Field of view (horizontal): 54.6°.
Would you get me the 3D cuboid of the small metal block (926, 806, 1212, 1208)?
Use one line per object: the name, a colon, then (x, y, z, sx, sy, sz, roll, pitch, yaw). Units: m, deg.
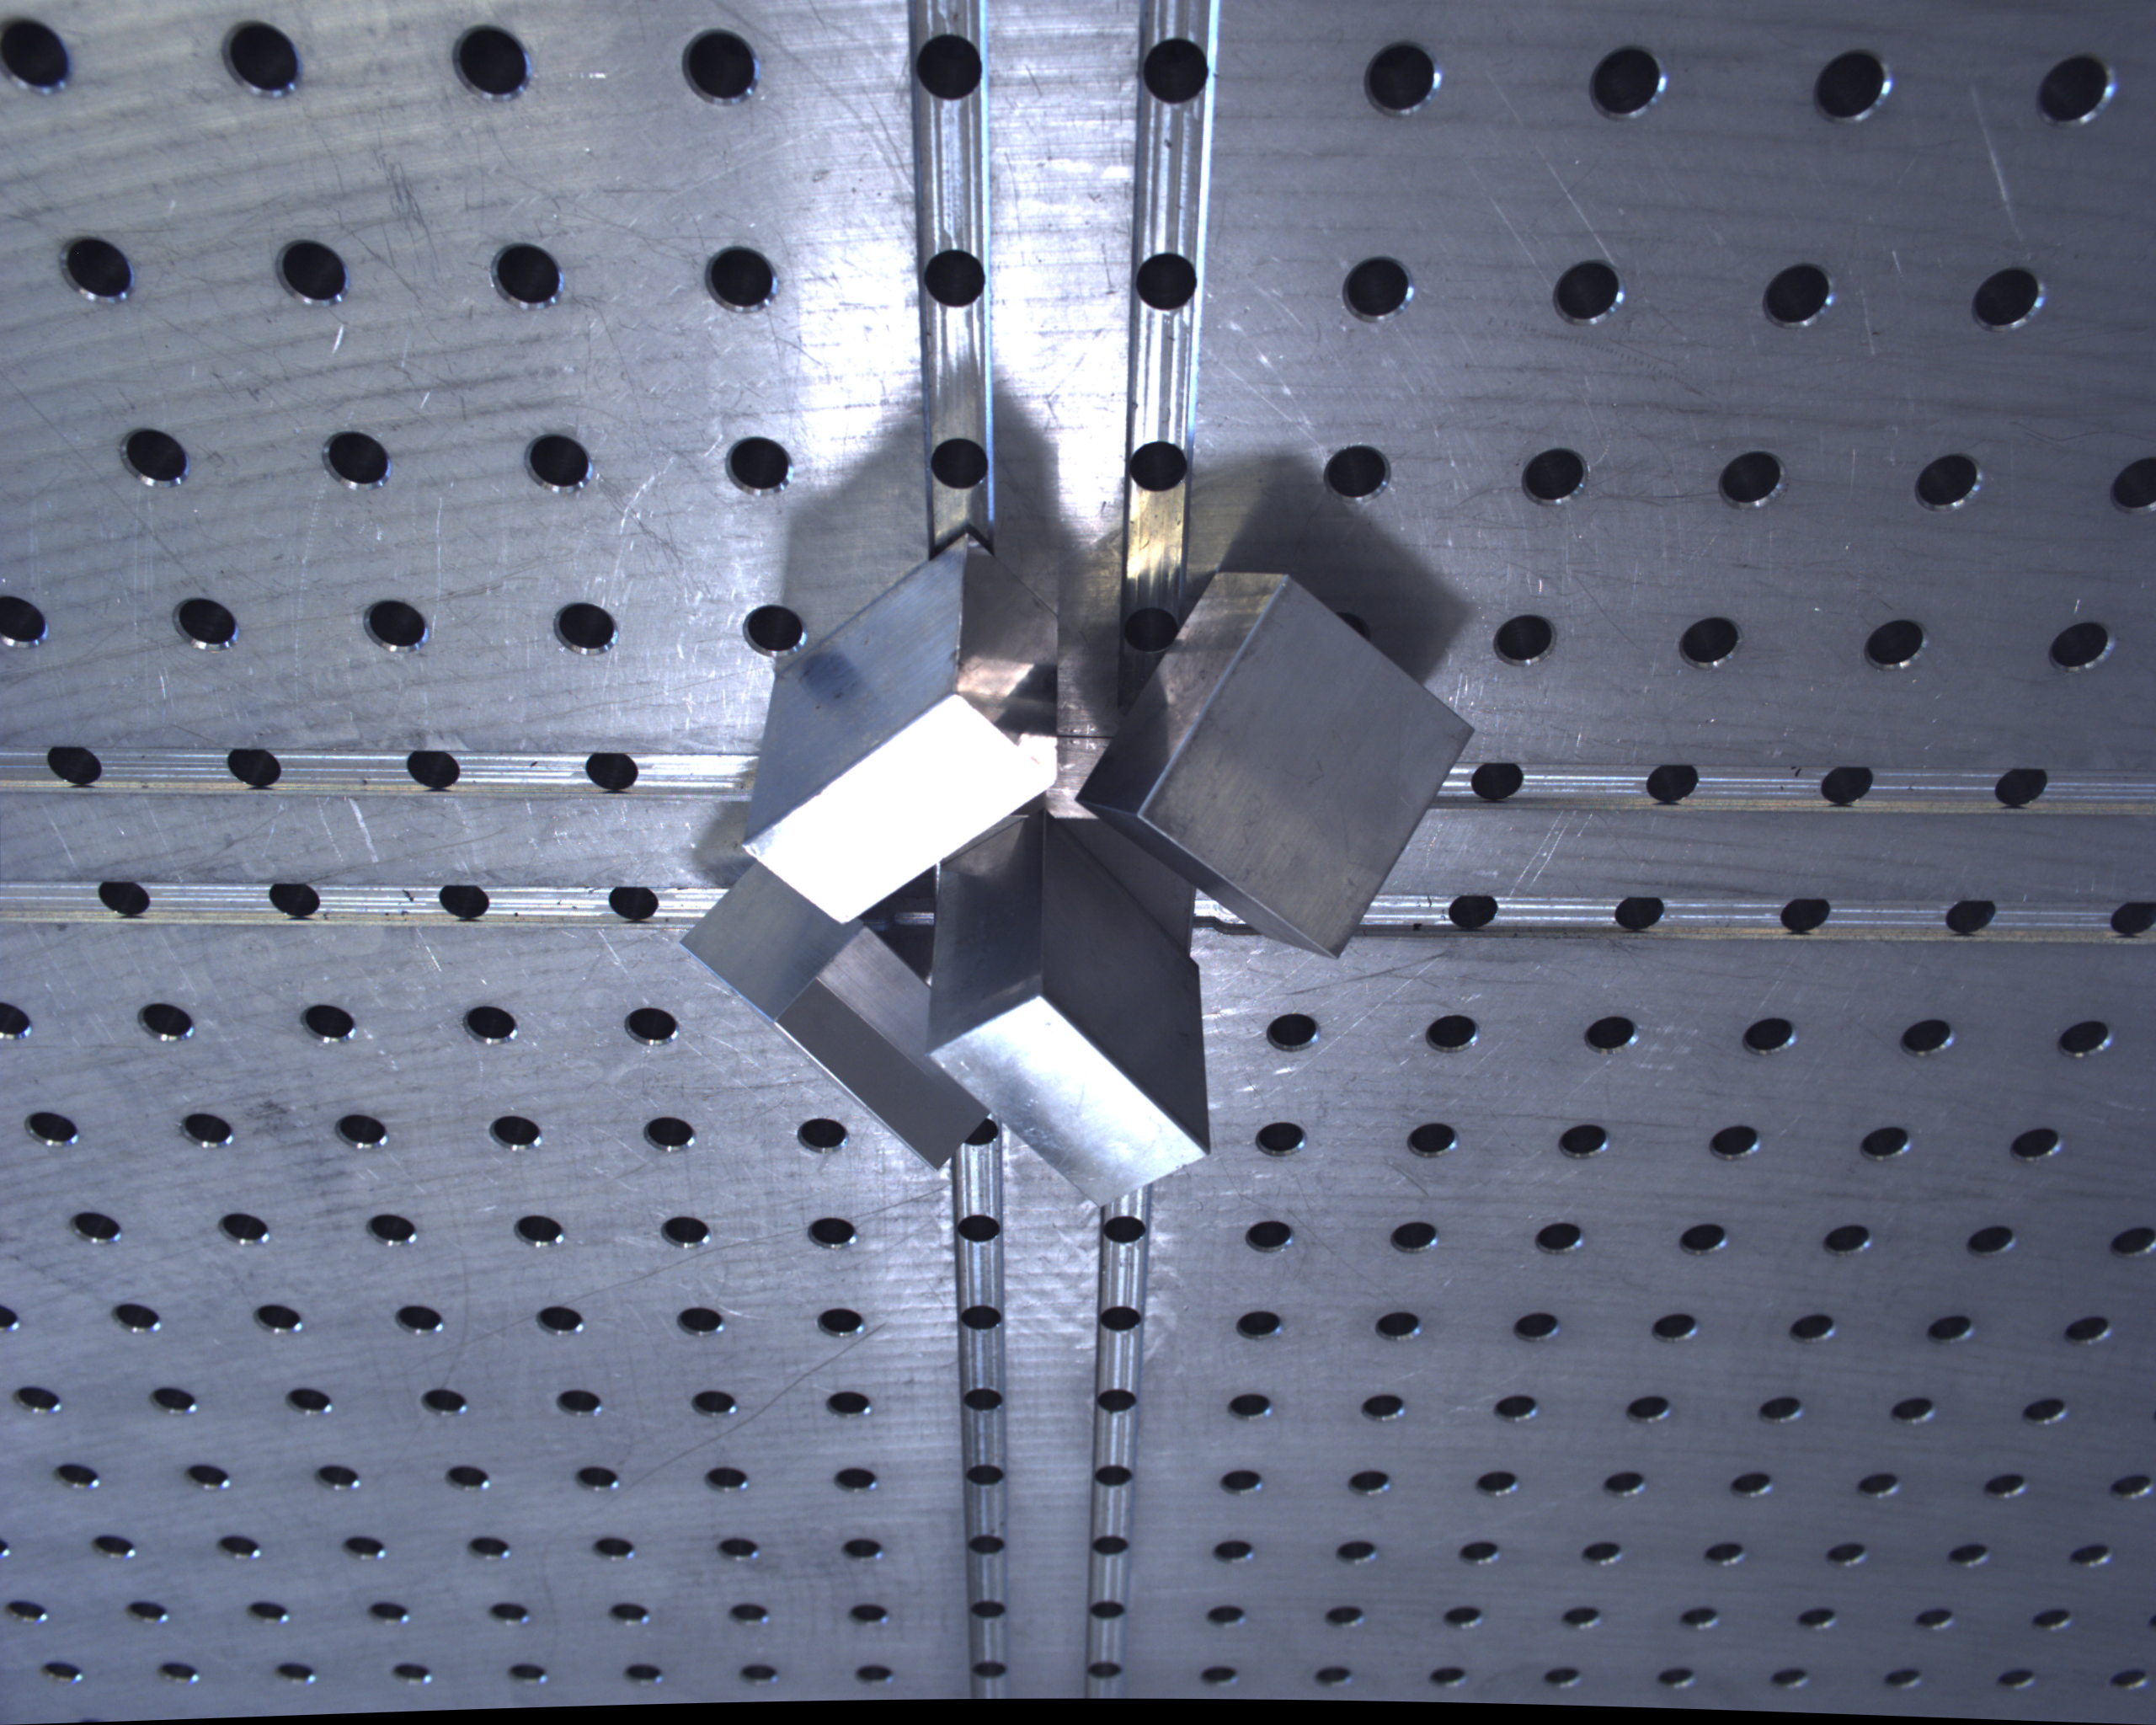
small metal block: (-0.001, 0.027, 0.384, 0.025, 0.050, 0.050, -30, 125, 22)

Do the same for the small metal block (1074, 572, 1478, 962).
small metal block: (0.036, -0.018, 0.379, 0.050, 0.025, 0.050, 35, 82, -26)

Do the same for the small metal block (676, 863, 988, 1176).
small metal block: (-0.046, 0.030, 0.416, 0.025, 0.050, 0.050, -48, 123, -10)

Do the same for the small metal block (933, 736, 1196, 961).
small metal block: (-0.003, 0.002, 0.413, 0.050, 0.025, 0.050, -1, 130, -1)

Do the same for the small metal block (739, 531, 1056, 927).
small metal block: (-0.031, -0.024, 0.374, 0.050, 0.050, 0.025, -34, 123, 25)
